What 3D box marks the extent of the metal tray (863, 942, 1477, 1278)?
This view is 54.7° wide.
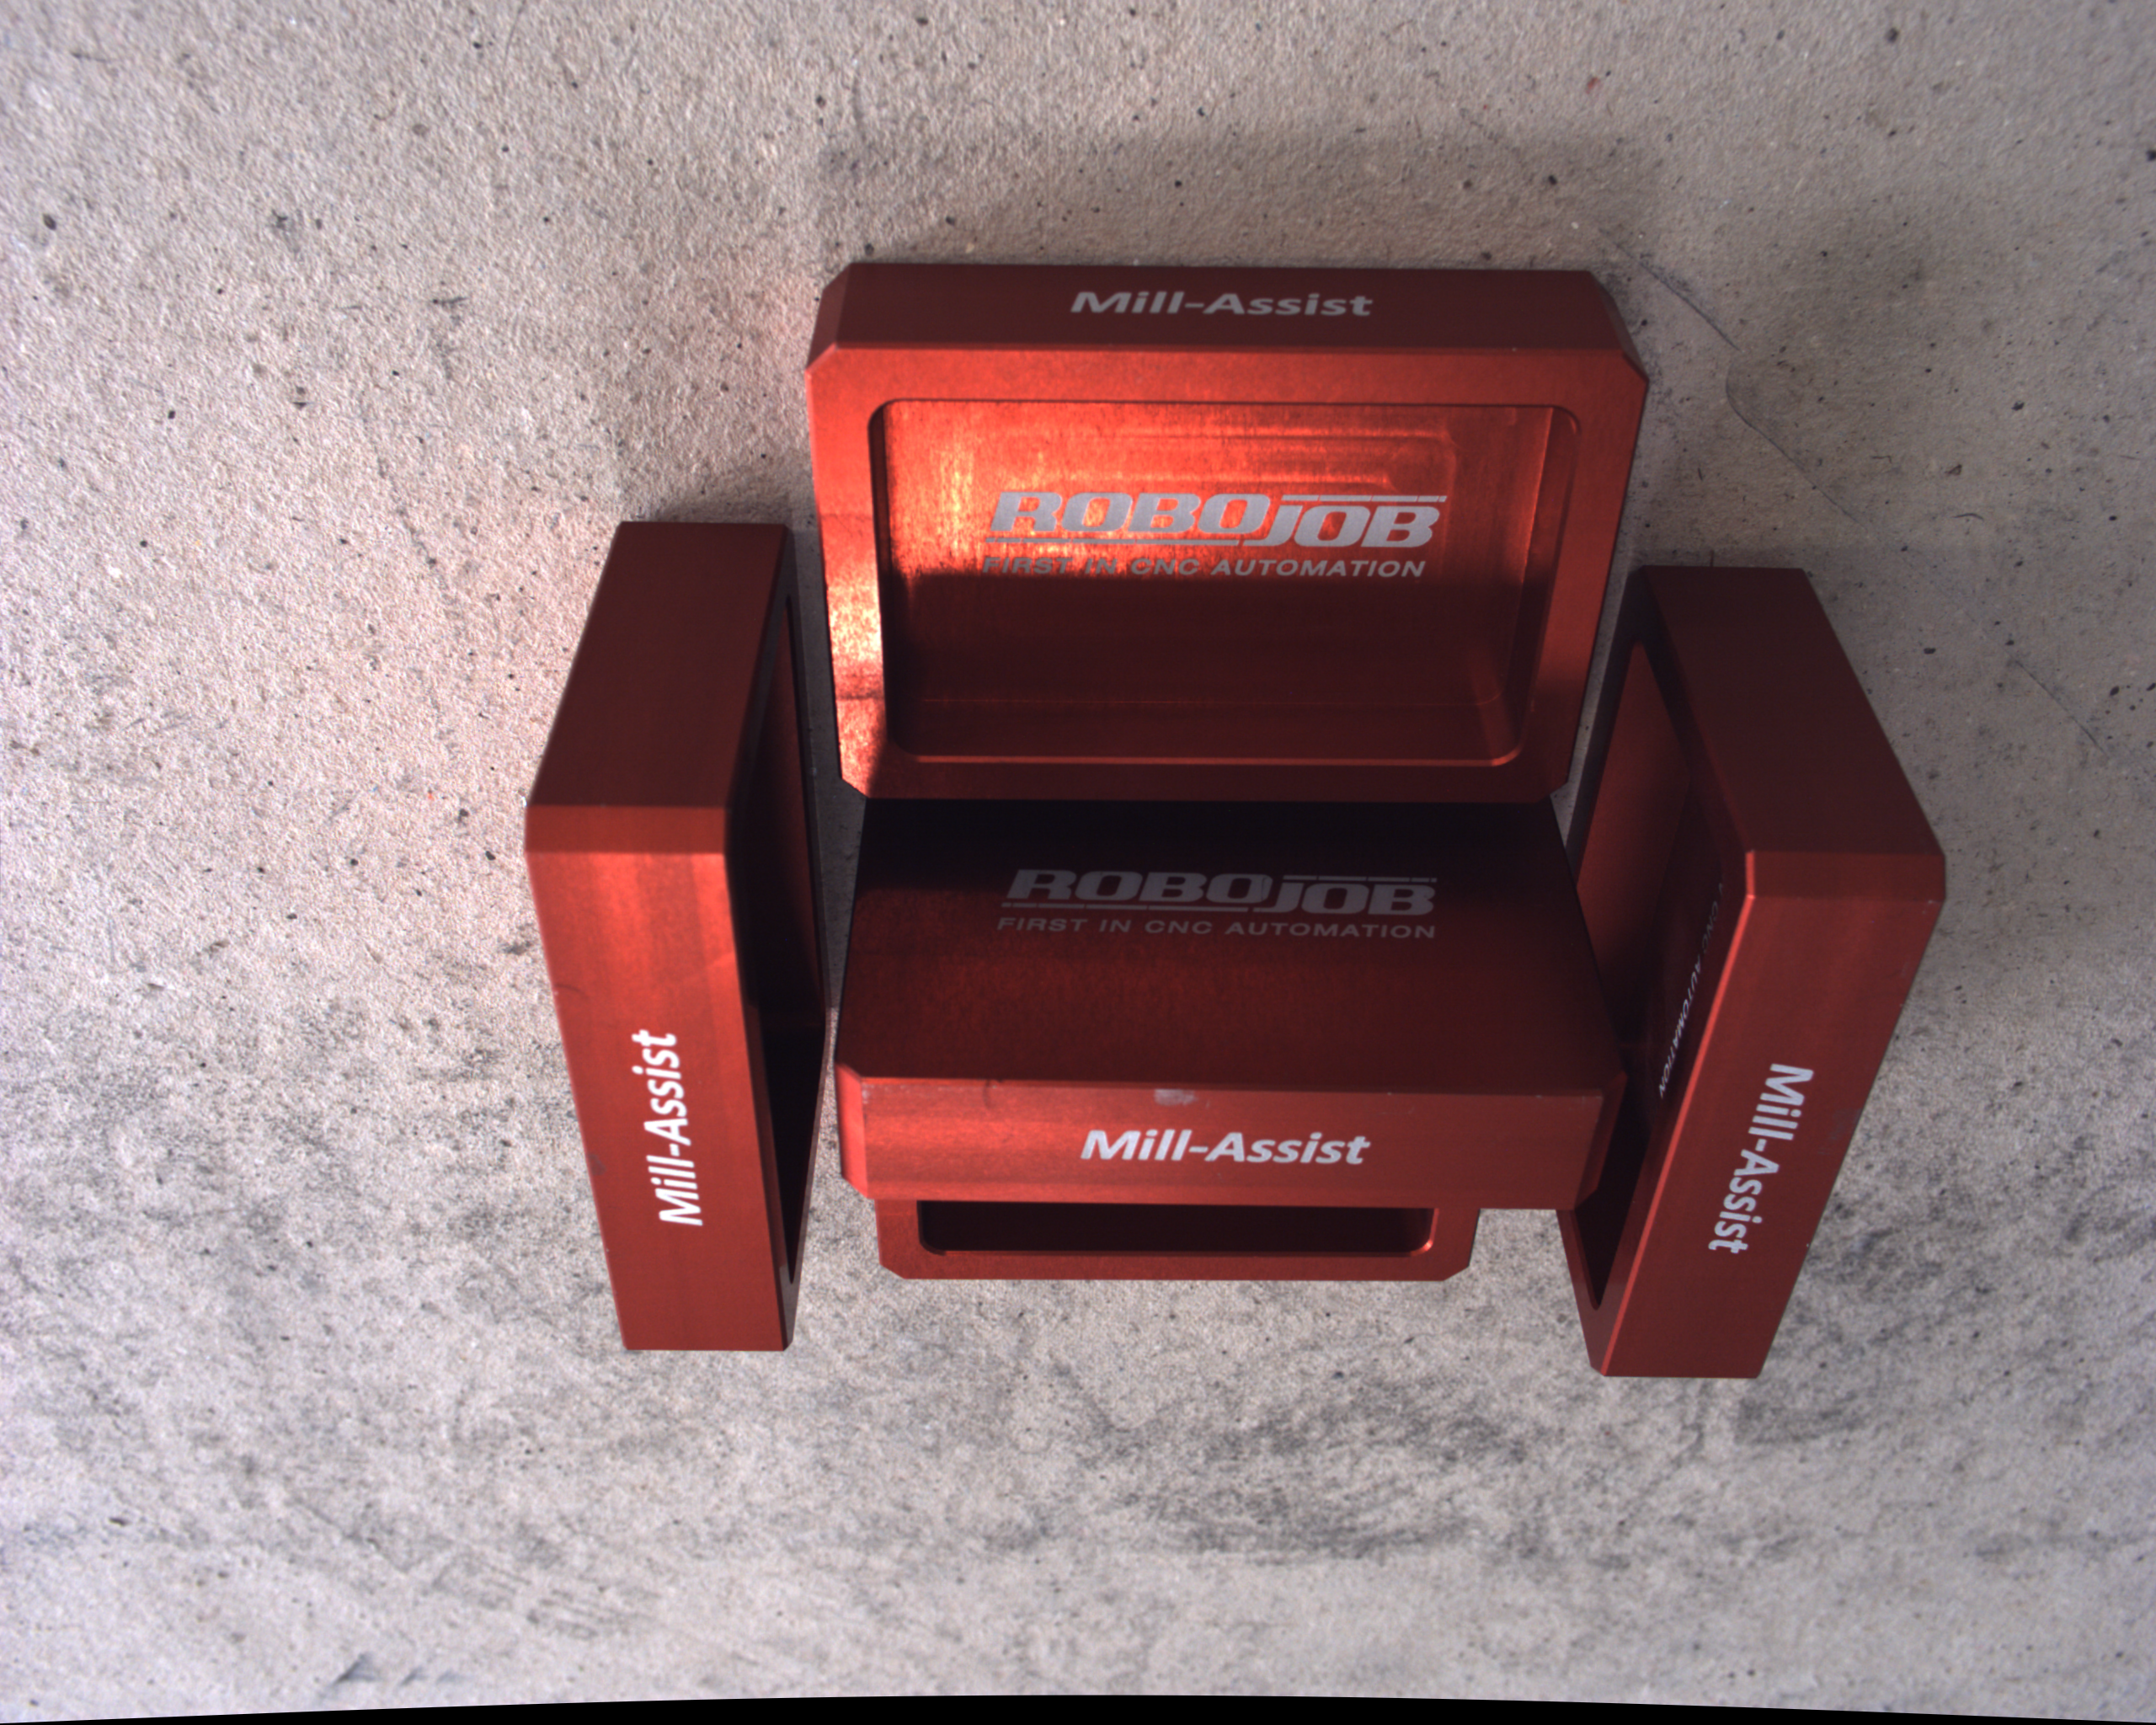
[{"bbox_3d":[0.021,0.049,0.449,0.131,0.030,0.089,0,129,-1],"label":"metal tray"}]

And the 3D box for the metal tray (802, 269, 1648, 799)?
[{"bbox_3d":[0.023,-0.054,0.360,0.131,0.030,0.089,0,133,-1],"label":"metal tray"}]

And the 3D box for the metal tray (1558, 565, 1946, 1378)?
[{"bbox_3d":[0.114,0.022,0.385,0.030,0.090,0.129,1,130,-1],"label":"metal tray"}]

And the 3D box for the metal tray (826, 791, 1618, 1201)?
[{"bbox_3d":[0.024,0.017,0.383,0.131,0.090,0.030,1,131,-1],"label":"metal tray"}]

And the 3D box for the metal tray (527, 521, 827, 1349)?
[{"bbox_3d":[-0.067,0.015,0.378,0.030,0.090,0.129,1,131,-1],"label":"metal tray"}]
